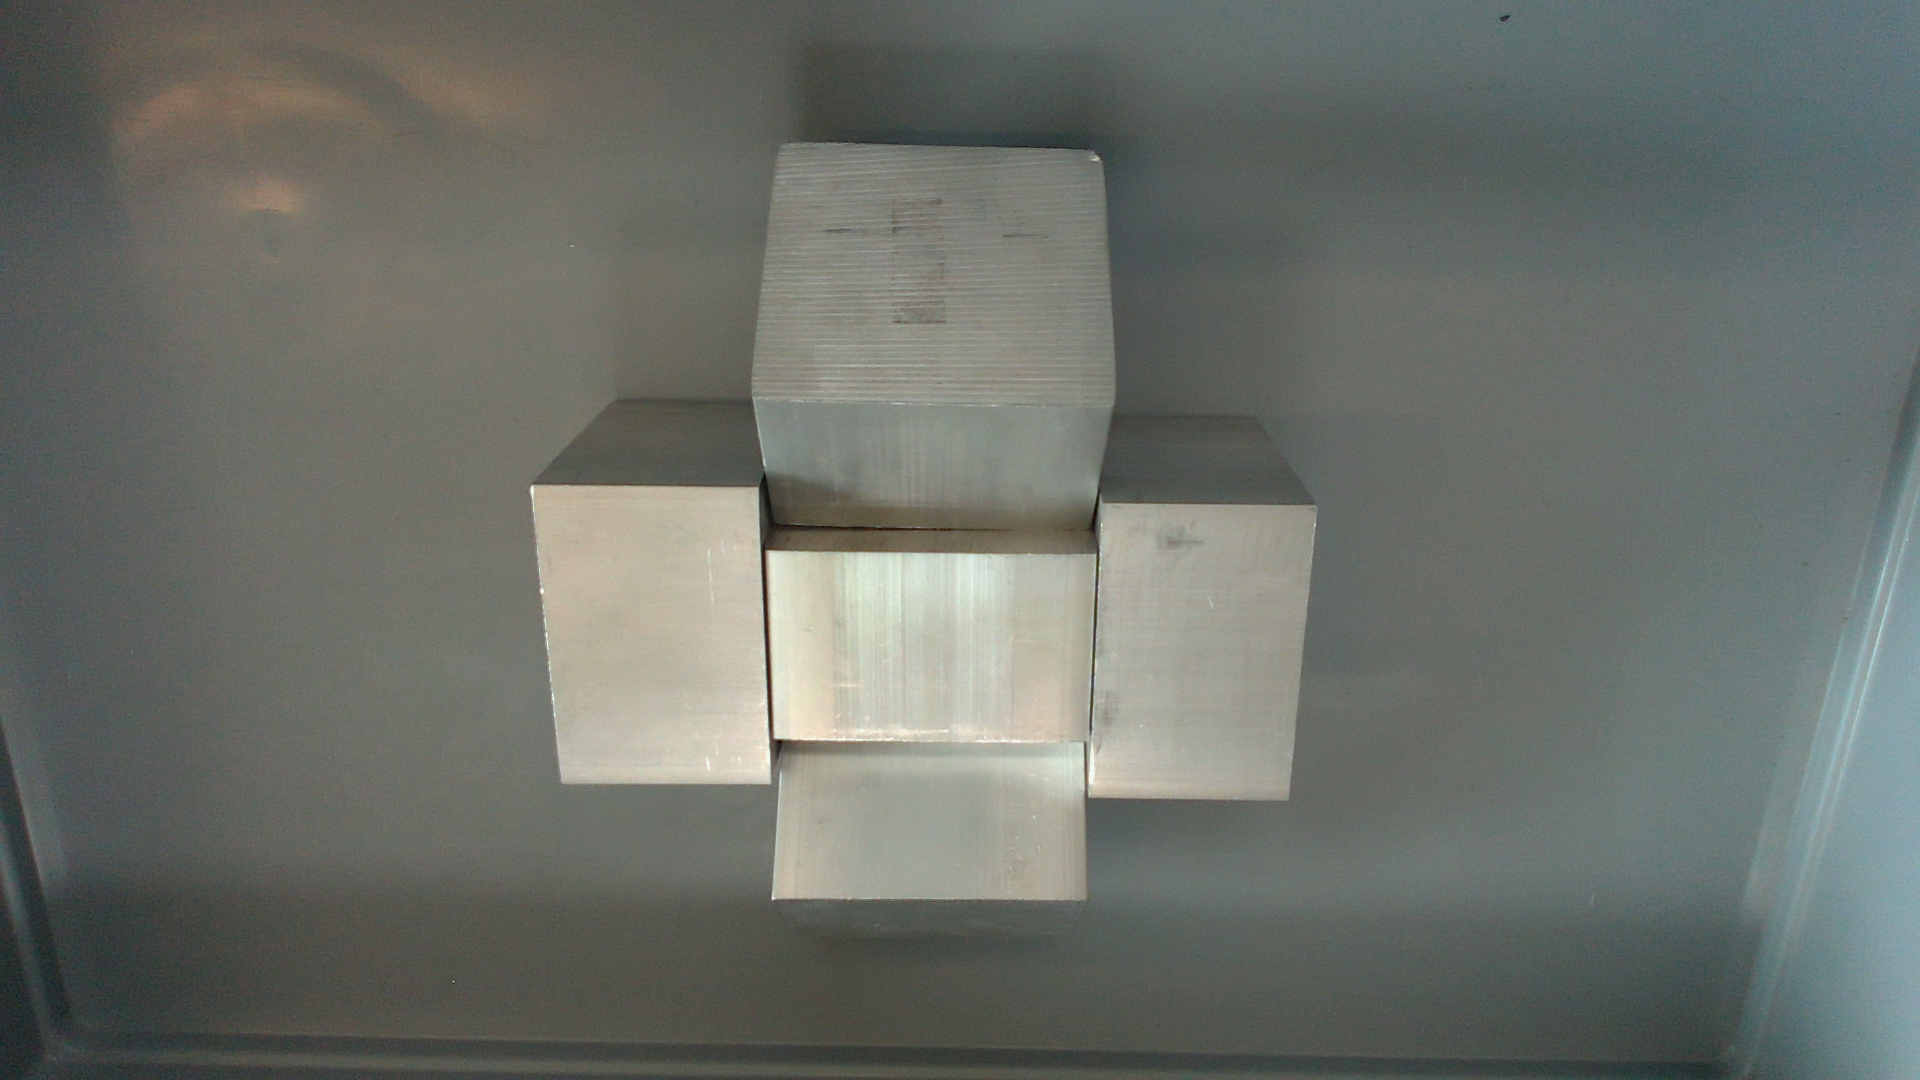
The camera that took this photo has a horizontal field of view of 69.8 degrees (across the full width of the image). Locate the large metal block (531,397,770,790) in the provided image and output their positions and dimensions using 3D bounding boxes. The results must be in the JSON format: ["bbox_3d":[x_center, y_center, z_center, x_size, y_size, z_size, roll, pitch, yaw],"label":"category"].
[{"bbox_3d":[-0.074,0.011,0.367,0.050,0.080,0.080,1,110,0],"label":"large metal block"}]

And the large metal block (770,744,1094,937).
[{"bbox_3d":[-0.008,0.082,0.387,0.080,0.080,0.050,0,68,-1],"label":"large metal block"}]

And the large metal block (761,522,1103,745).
[{"bbox_3d":[-0.007,0.013,0.369,0.080,0.080,0.050,1,110,0],"label":"large metal block"}]

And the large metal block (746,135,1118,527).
[{"bbox_3d":[-0.006,-0.051,0.338,0.080,0.080,0.050,1,148,-1],"label":"large metal block"}]

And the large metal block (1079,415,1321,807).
[{"bbox_3d":[0.058,0.016,0.370,0.050,0.080,0.080,1,110,0],"label":"large metal block"}]
